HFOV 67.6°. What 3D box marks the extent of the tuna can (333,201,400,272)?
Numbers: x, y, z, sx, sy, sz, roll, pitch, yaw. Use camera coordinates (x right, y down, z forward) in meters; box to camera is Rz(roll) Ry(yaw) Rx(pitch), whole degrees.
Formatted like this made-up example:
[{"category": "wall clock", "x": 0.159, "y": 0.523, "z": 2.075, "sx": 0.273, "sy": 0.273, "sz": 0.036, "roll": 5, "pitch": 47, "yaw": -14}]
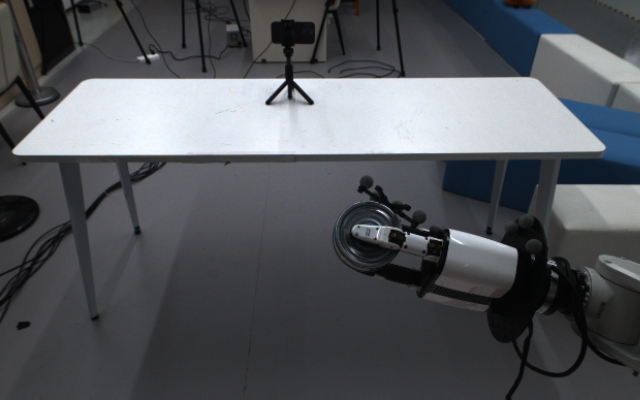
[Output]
[{"category": "tuna can", "x": 0.063, "y": 0.052, "z": 0.598, "sx": 0.085, "sy": 0.034, "sz": 0.085, "roll": 0, "pitch": 74, "yaw": 0}]
